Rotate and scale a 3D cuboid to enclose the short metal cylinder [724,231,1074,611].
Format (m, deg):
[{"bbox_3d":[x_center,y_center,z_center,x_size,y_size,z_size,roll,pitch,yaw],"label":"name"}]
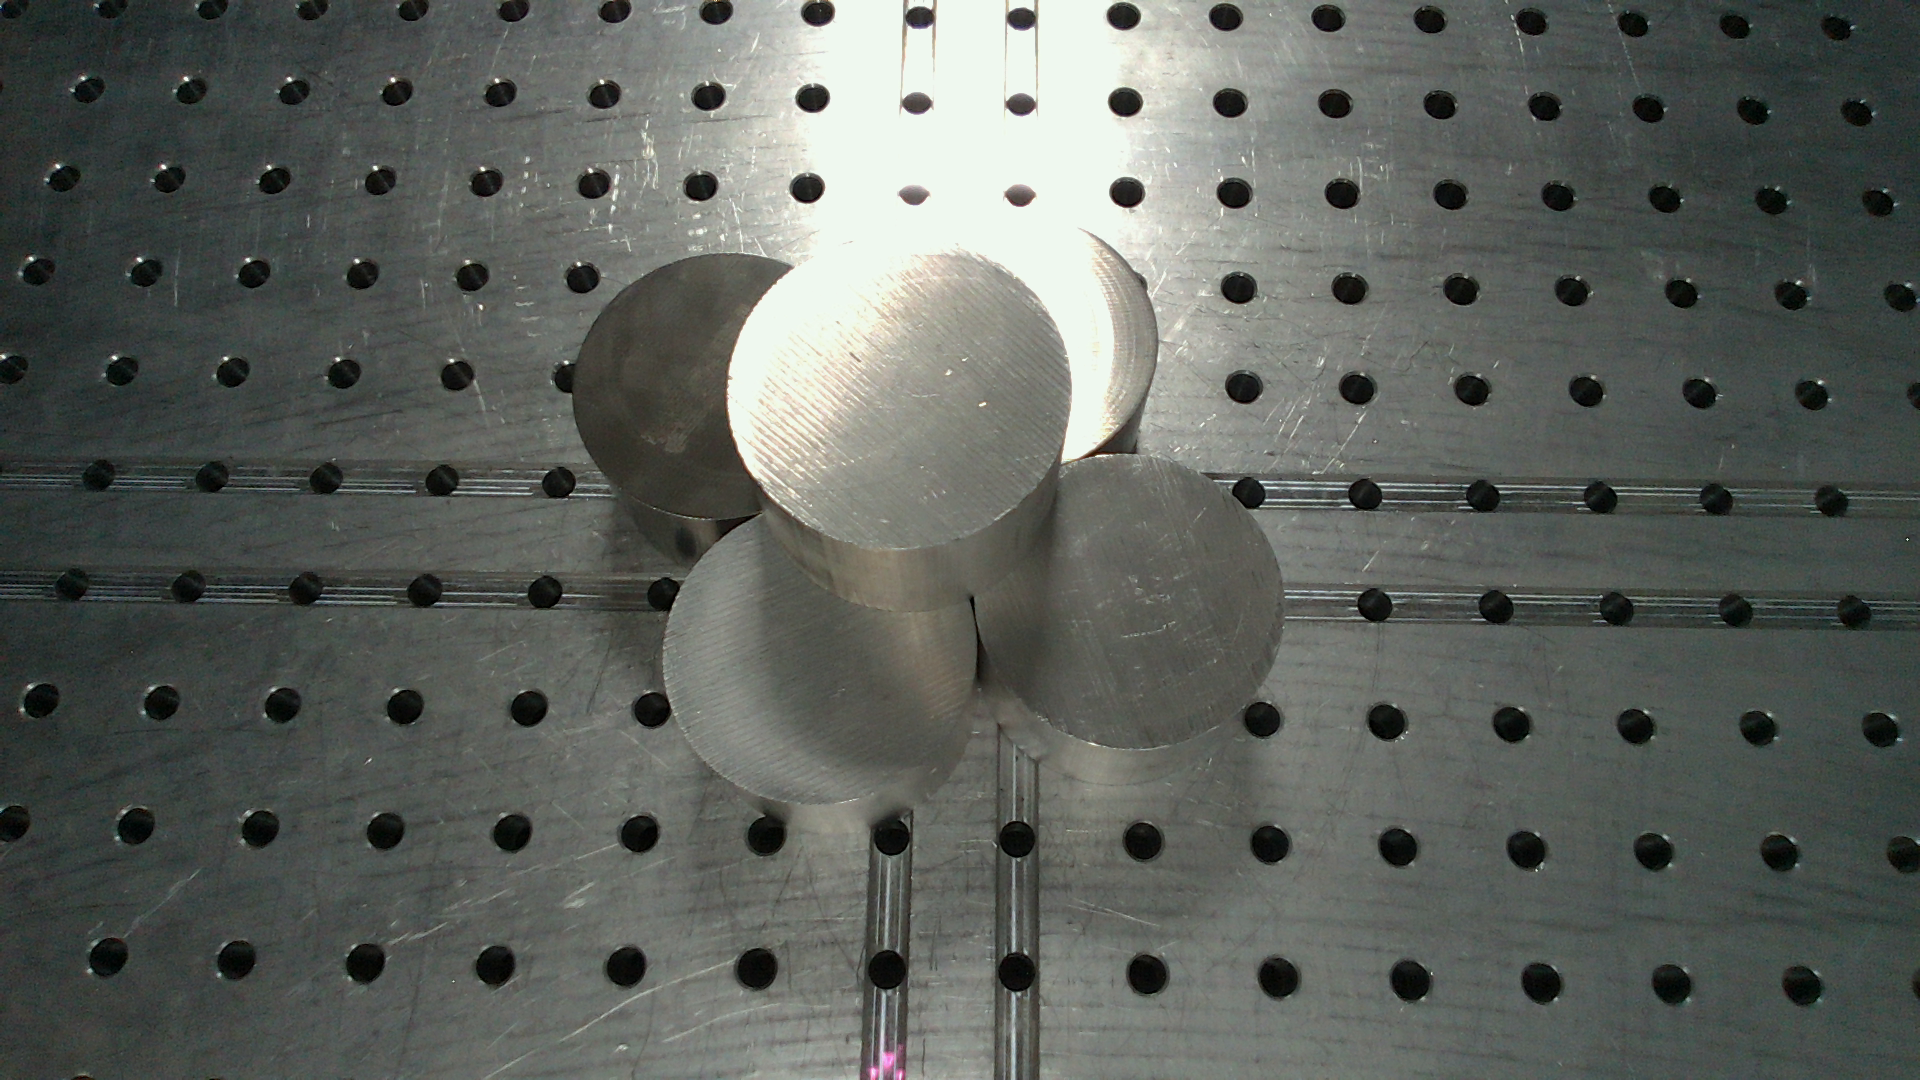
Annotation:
[{"bbox_3d":[-0.014,-0.028,0.339,0.080,0.050,0.080,0,71,-1],"label":"short metal cylinder"}]

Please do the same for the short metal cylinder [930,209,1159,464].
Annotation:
[{"bbox_3d":[0.015,-0.048,0.401,0.080,0.050,0.080,0,70,0],"label":"short metal cylinder"}]

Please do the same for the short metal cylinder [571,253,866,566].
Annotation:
[{"bbox_3d":[-0.065,-0.034,0.395,0.080,0.050,0.080,0,70,0],"label":"short metal cylinder"}]

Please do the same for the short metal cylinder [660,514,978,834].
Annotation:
[{"bbox_3d":[-0.035,0.036,0.370,0.080,0.050,0.080,0,70,0],"label":"short metal cylinder"}]

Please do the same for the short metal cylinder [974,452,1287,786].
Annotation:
[{"bbox_3d":[0.044,0.023,0.375,0.080,0.050,0.080,0,70,0],"label":"short metal cylinder"}]
